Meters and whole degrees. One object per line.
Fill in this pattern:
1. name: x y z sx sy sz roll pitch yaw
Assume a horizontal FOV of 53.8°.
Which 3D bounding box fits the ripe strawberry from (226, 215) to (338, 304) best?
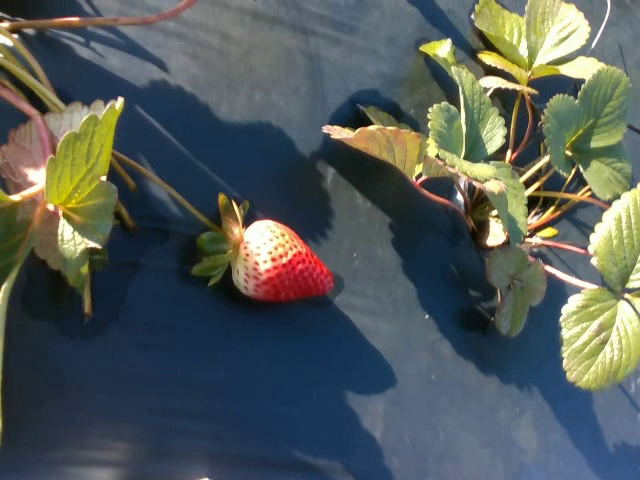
1. ripe strawberry: -0.014 0.012 0.284 0.063 0.045 0.044 19 30 -16
